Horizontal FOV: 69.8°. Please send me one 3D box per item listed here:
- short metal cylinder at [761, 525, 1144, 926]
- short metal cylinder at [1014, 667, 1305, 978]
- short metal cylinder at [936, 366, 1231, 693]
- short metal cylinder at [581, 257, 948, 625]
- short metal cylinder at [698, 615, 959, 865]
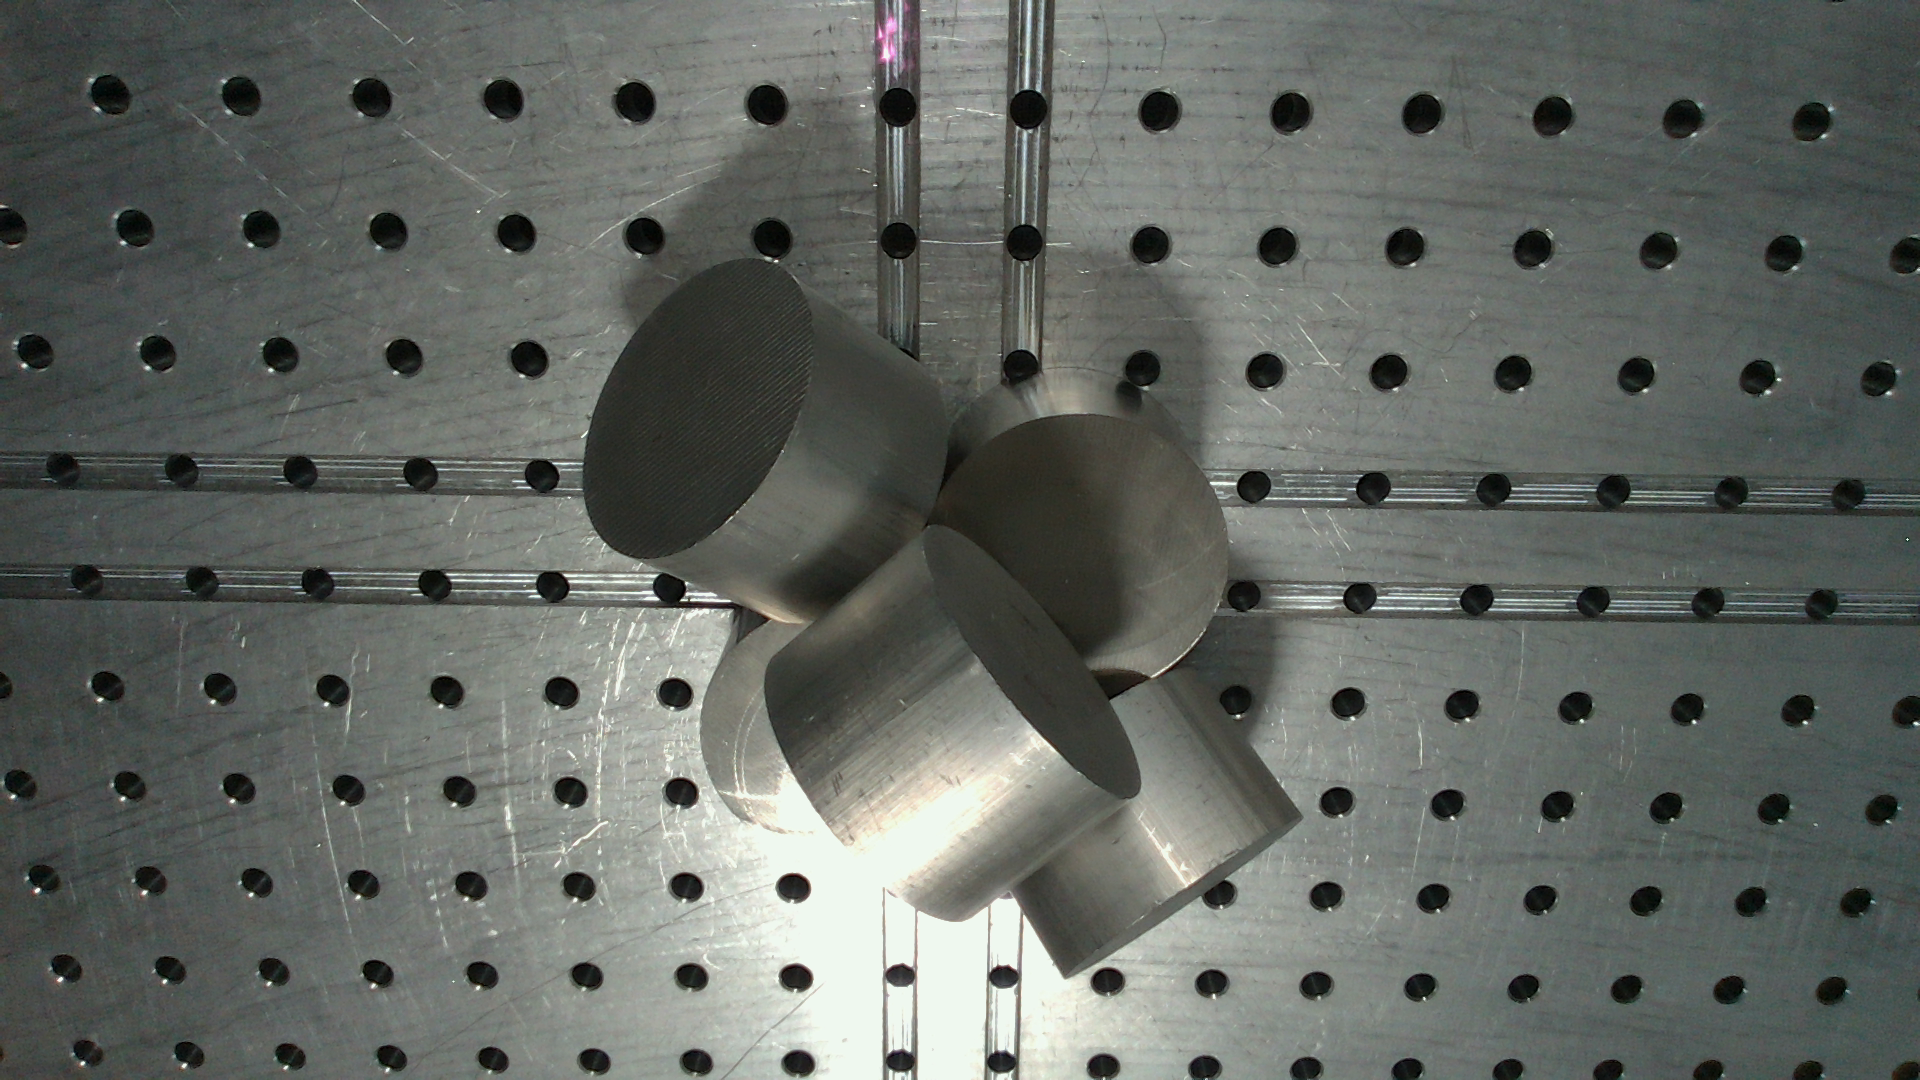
[{"bbox_3d":[-0.001,0.043,0.328,0.050,0.080,0.080,-39,106,13],"label":"short metal cylinder"},{"bbox_3d":[0.049,0.080,0.389,0.080,0.080,0.050,-39,70,13],"label":"short metal cylinder"},{"bbox_3d":[0.031,-0.003,0.381,0.080,0.050,0.080,0,110,0],"label":"short metal cylinder"},{"bbox_3d":[-0.050,-0.024,0.351,0.080,0.080,0.050,-45,138,14],"label":"short metal cylinder"},{"bbox_3d":[-0.031,0.046,0.399,0.080,0.050,0.080,0,110,0],"label":"short metal cylinder"}]
